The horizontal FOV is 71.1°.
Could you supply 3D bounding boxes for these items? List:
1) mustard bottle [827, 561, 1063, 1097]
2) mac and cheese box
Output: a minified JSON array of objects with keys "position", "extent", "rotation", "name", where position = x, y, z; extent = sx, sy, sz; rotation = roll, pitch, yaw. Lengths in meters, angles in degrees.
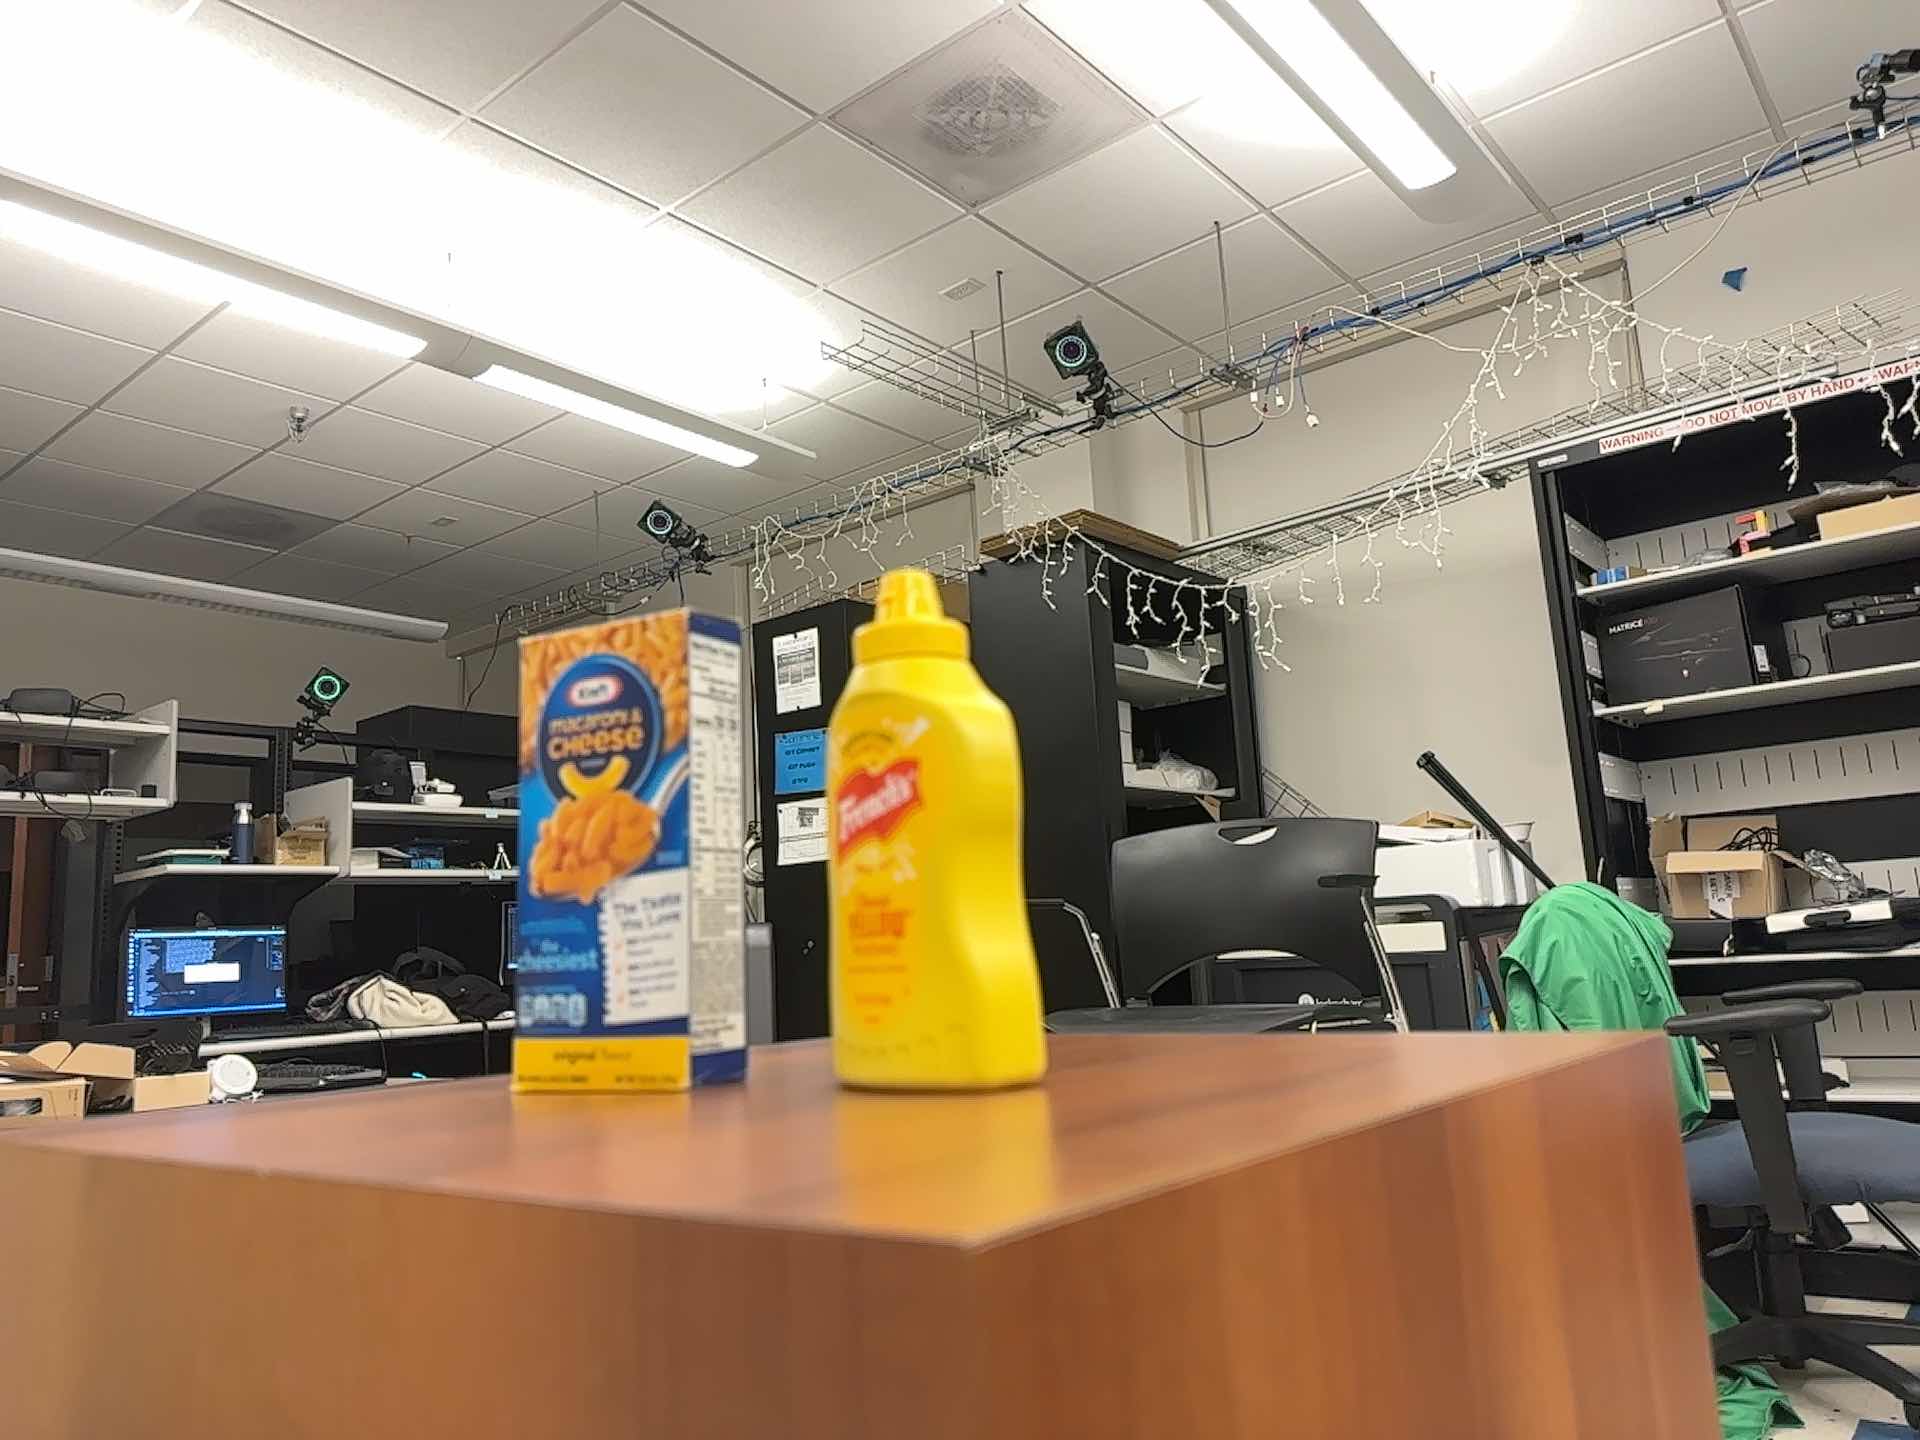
[{"position":[-0.011,0.034,0.466],"extent":[0.054,0.184,0.092],"rotation":[2,-13,-33],"name":"mustard bottle"},{"position":[-0.130,0.056,0.542],"extent":[0.088,0.181,0.035],"rotation":[-10,-12,32],"name":"mac and cheese box"}]
